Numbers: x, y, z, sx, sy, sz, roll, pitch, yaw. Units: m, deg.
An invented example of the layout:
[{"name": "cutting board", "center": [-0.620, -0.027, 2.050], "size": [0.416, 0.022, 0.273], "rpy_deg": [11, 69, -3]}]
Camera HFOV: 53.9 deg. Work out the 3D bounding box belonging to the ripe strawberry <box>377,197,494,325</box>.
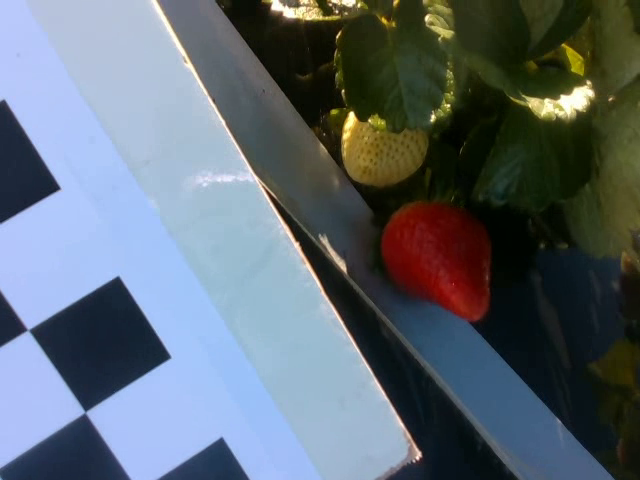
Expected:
[{"name": "ripe strawberry", "center": [0.044, 0.008, 0.225], "size": [0.045, 0.049, 0.064], "rpy_deg": [-7, 33, -8]}]
